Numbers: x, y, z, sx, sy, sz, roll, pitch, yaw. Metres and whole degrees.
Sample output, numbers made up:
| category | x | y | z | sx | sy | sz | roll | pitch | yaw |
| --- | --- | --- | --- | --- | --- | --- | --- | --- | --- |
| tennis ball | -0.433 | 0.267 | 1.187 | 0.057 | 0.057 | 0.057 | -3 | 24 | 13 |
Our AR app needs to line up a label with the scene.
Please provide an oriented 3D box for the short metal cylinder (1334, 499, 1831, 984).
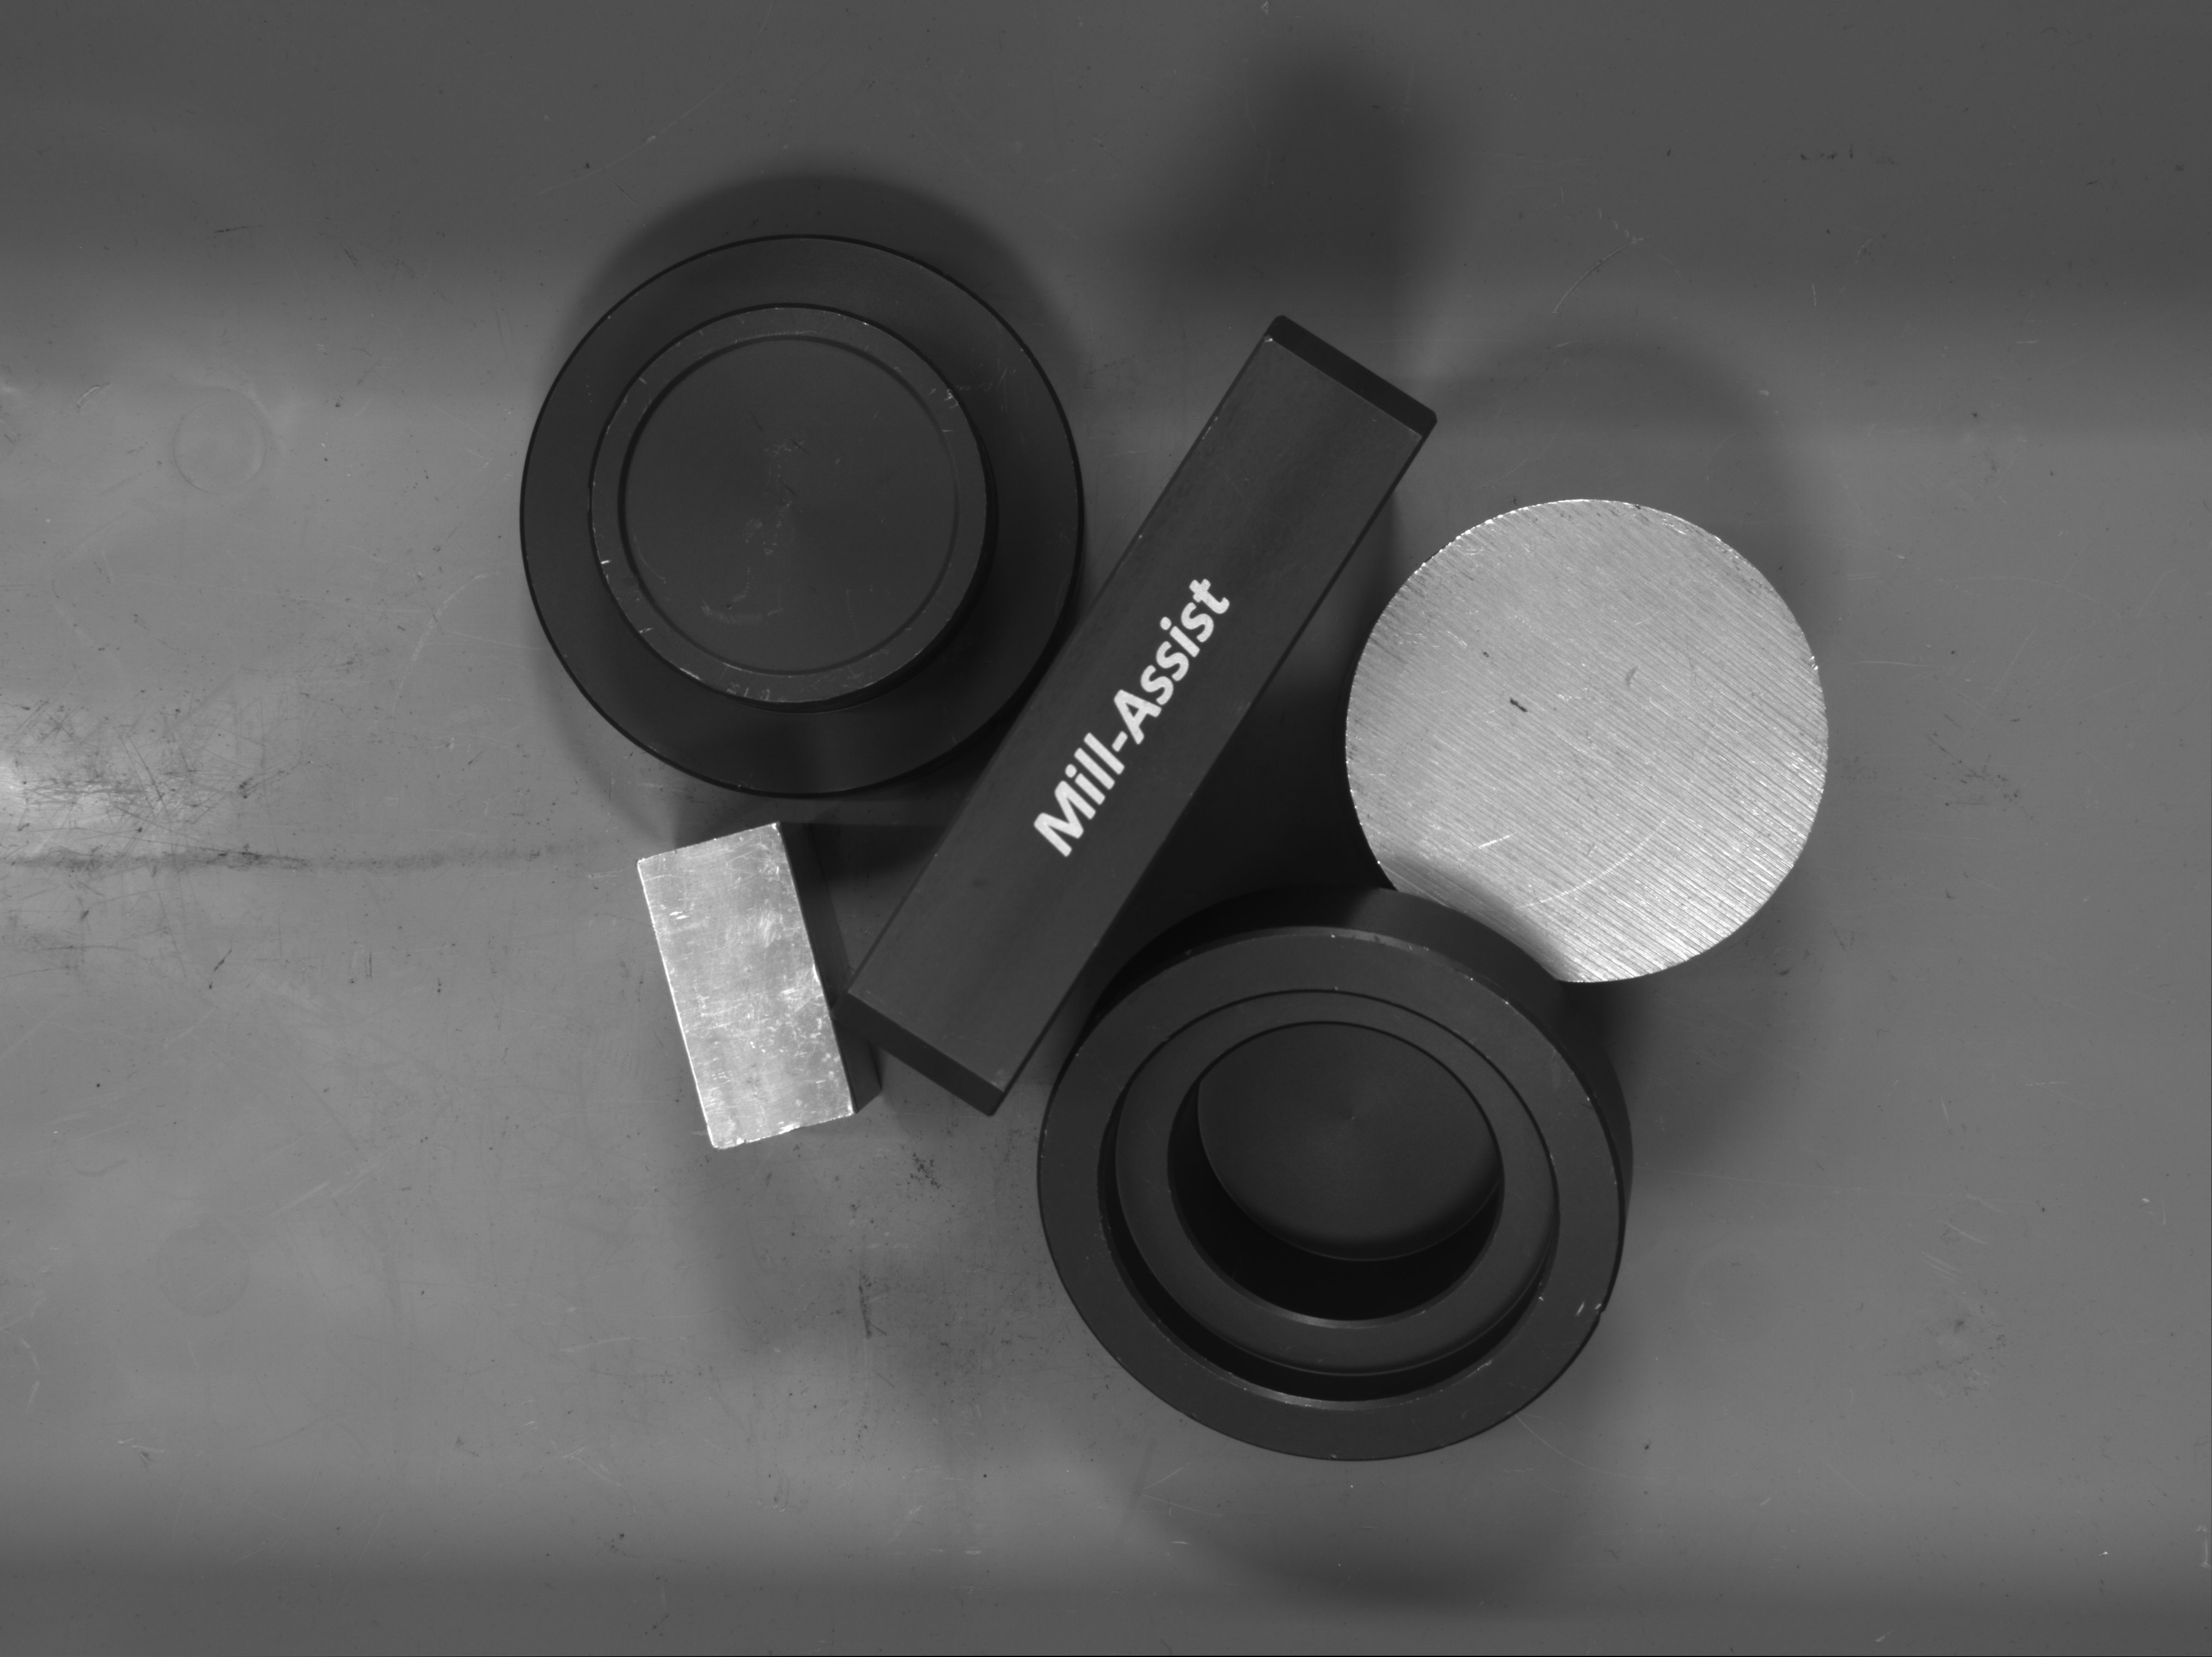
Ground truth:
| category | x | y | z | sx | sy | sz | roll | pitch | yaw |
| --- | --- | --- | --- | --- | --- | --- | --- | --- | --- |
| short metal cylinder | 0.080 | -0.014 | 0.632 | 0.080 | 0.050 | 0.080 | 0 | 90 | 0 |

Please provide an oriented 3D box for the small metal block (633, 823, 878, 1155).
| category | x | y | z | sx | sy | sz | roll | pitch | yaw |
| --- | --- | --- | --- | --- | --- | --- | --- | --- | --- |
| small metal block | -0.059 | 0.027 | 0.631 | 0.025 | 0.050 | 0.050 | -15 | 90 | 0 |

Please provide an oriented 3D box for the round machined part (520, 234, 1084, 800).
| category | x | y | z | sx | sy | sz | roll | pitch | yaw |
| --- | --- | --- | --- | --- | --- | --- | --- | --- | --- |
| round machined part | -0.053 | -0.054 | 0.635 | 0.098 | 0.042 | 0.098 | 0 | 90 | 0 |

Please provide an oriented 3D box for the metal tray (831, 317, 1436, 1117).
| category | x | y | z | sx | sy | sz | roll | pitch | yaw |
| --- | --- | --- | --- | --- | --- | --- | --- | --- | --- |
| metal tray | 0.004 | -0.017 | 0.612 | 0.030 | 0.090 | 0.130 | 33 | 90 | 0 |

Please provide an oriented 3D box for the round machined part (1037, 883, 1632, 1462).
| category | x | y | z | sx | sy | sz | roll | pitch | yaw |
| --- | --- | --- | --- | --- | --- | --- | --- | --- | --- |
| round machined part | 0.040 | 0.055 | 0.625 | 0.098 | 0.042 | 0.098 | 4 | 111 | 10 |
